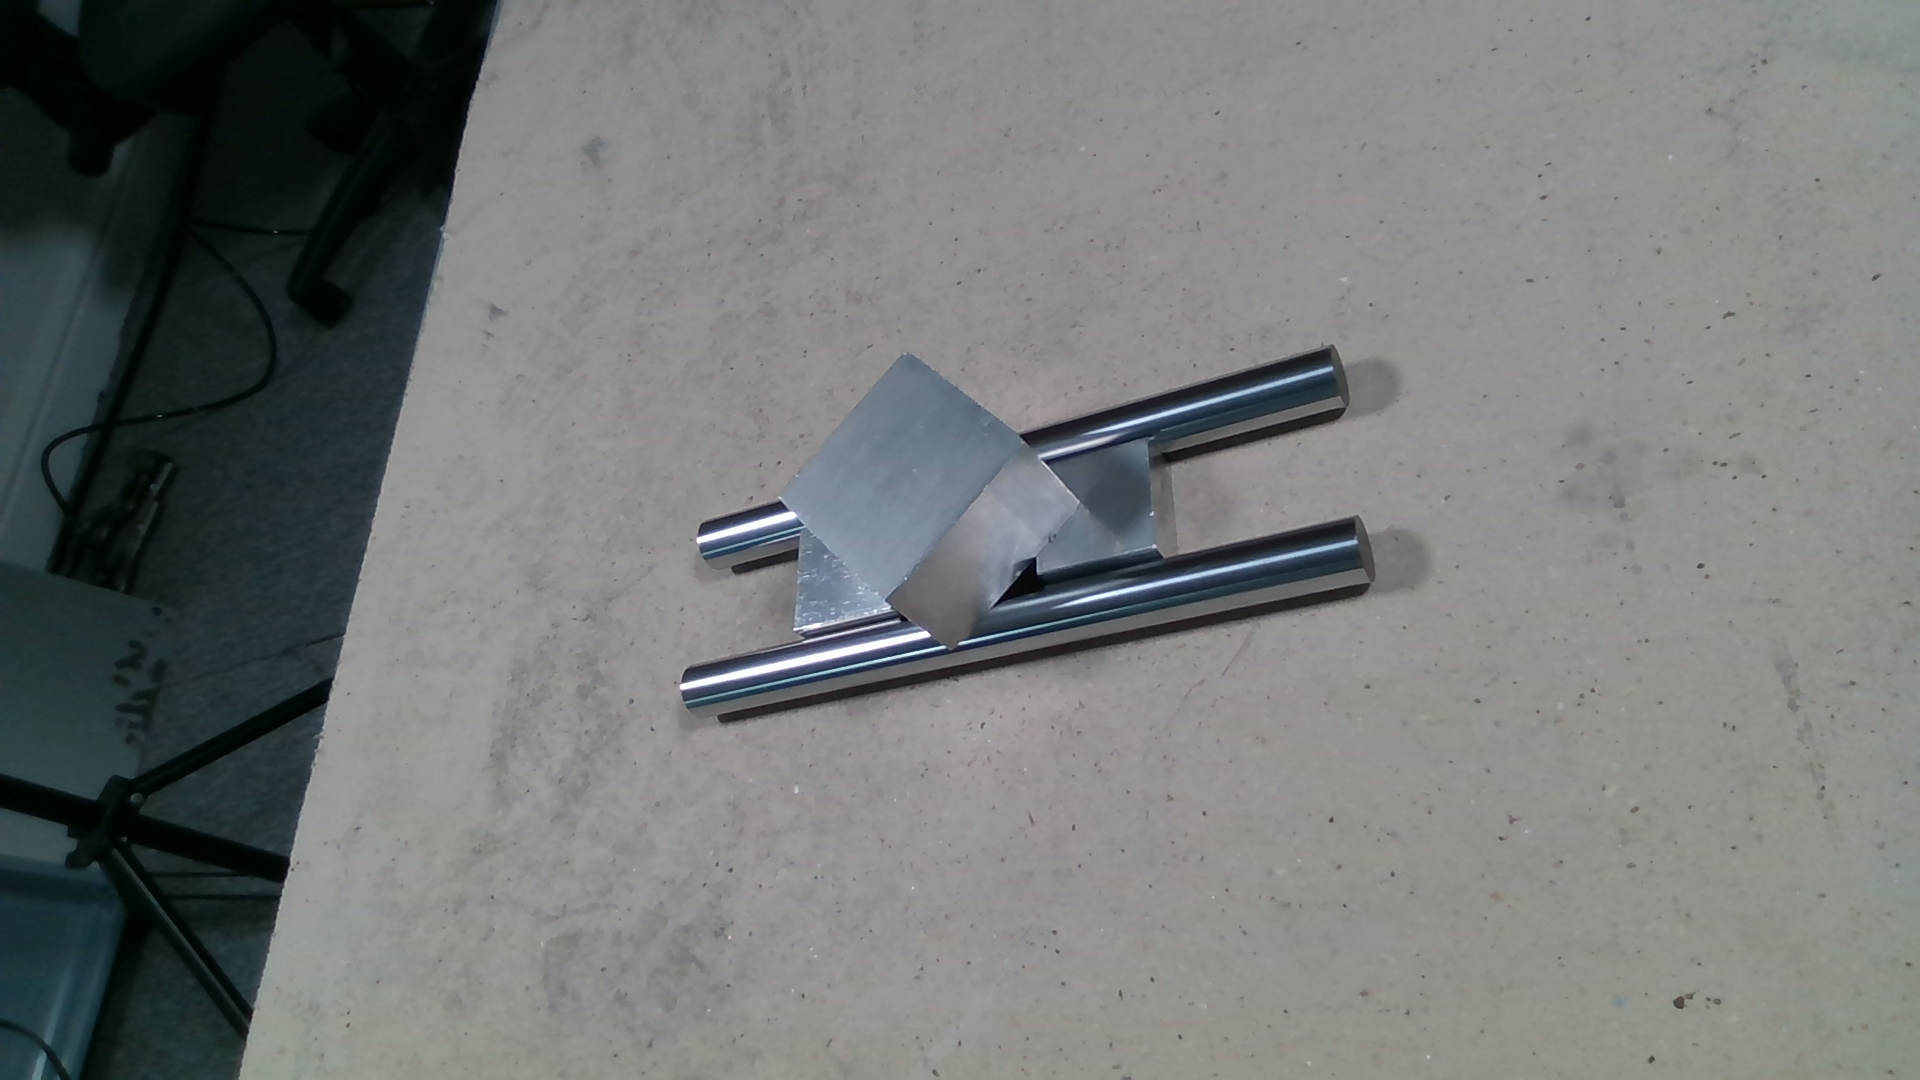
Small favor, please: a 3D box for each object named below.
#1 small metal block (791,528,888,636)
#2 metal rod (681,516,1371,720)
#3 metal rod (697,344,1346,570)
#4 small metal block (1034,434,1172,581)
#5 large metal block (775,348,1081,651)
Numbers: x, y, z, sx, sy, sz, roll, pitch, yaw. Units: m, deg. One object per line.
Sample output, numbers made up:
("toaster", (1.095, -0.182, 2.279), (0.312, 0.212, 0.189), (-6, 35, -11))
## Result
("small metal block", (-0.045, 0.016, 0.603), (0.050, 0.025, 0.050), (-14, 59, 25))
("metal rod", (0.013, 0.036, 0.559), (0.300, 0.025, 0.025), (-14, 59, 25))
("metal rod", (0.014, -0.031, 0.594), (0.300, 0.025, 0.025), (-14, 59, 25))
("small metal block", (0.057, -0.009, 0.554), (0.050, 0.025, 0.050), (-14, 59, 25))
("large metal block", (-0.013, -0.017, 0.552), (0.080, 0.050, 0.080), (-49, 51, 1))
